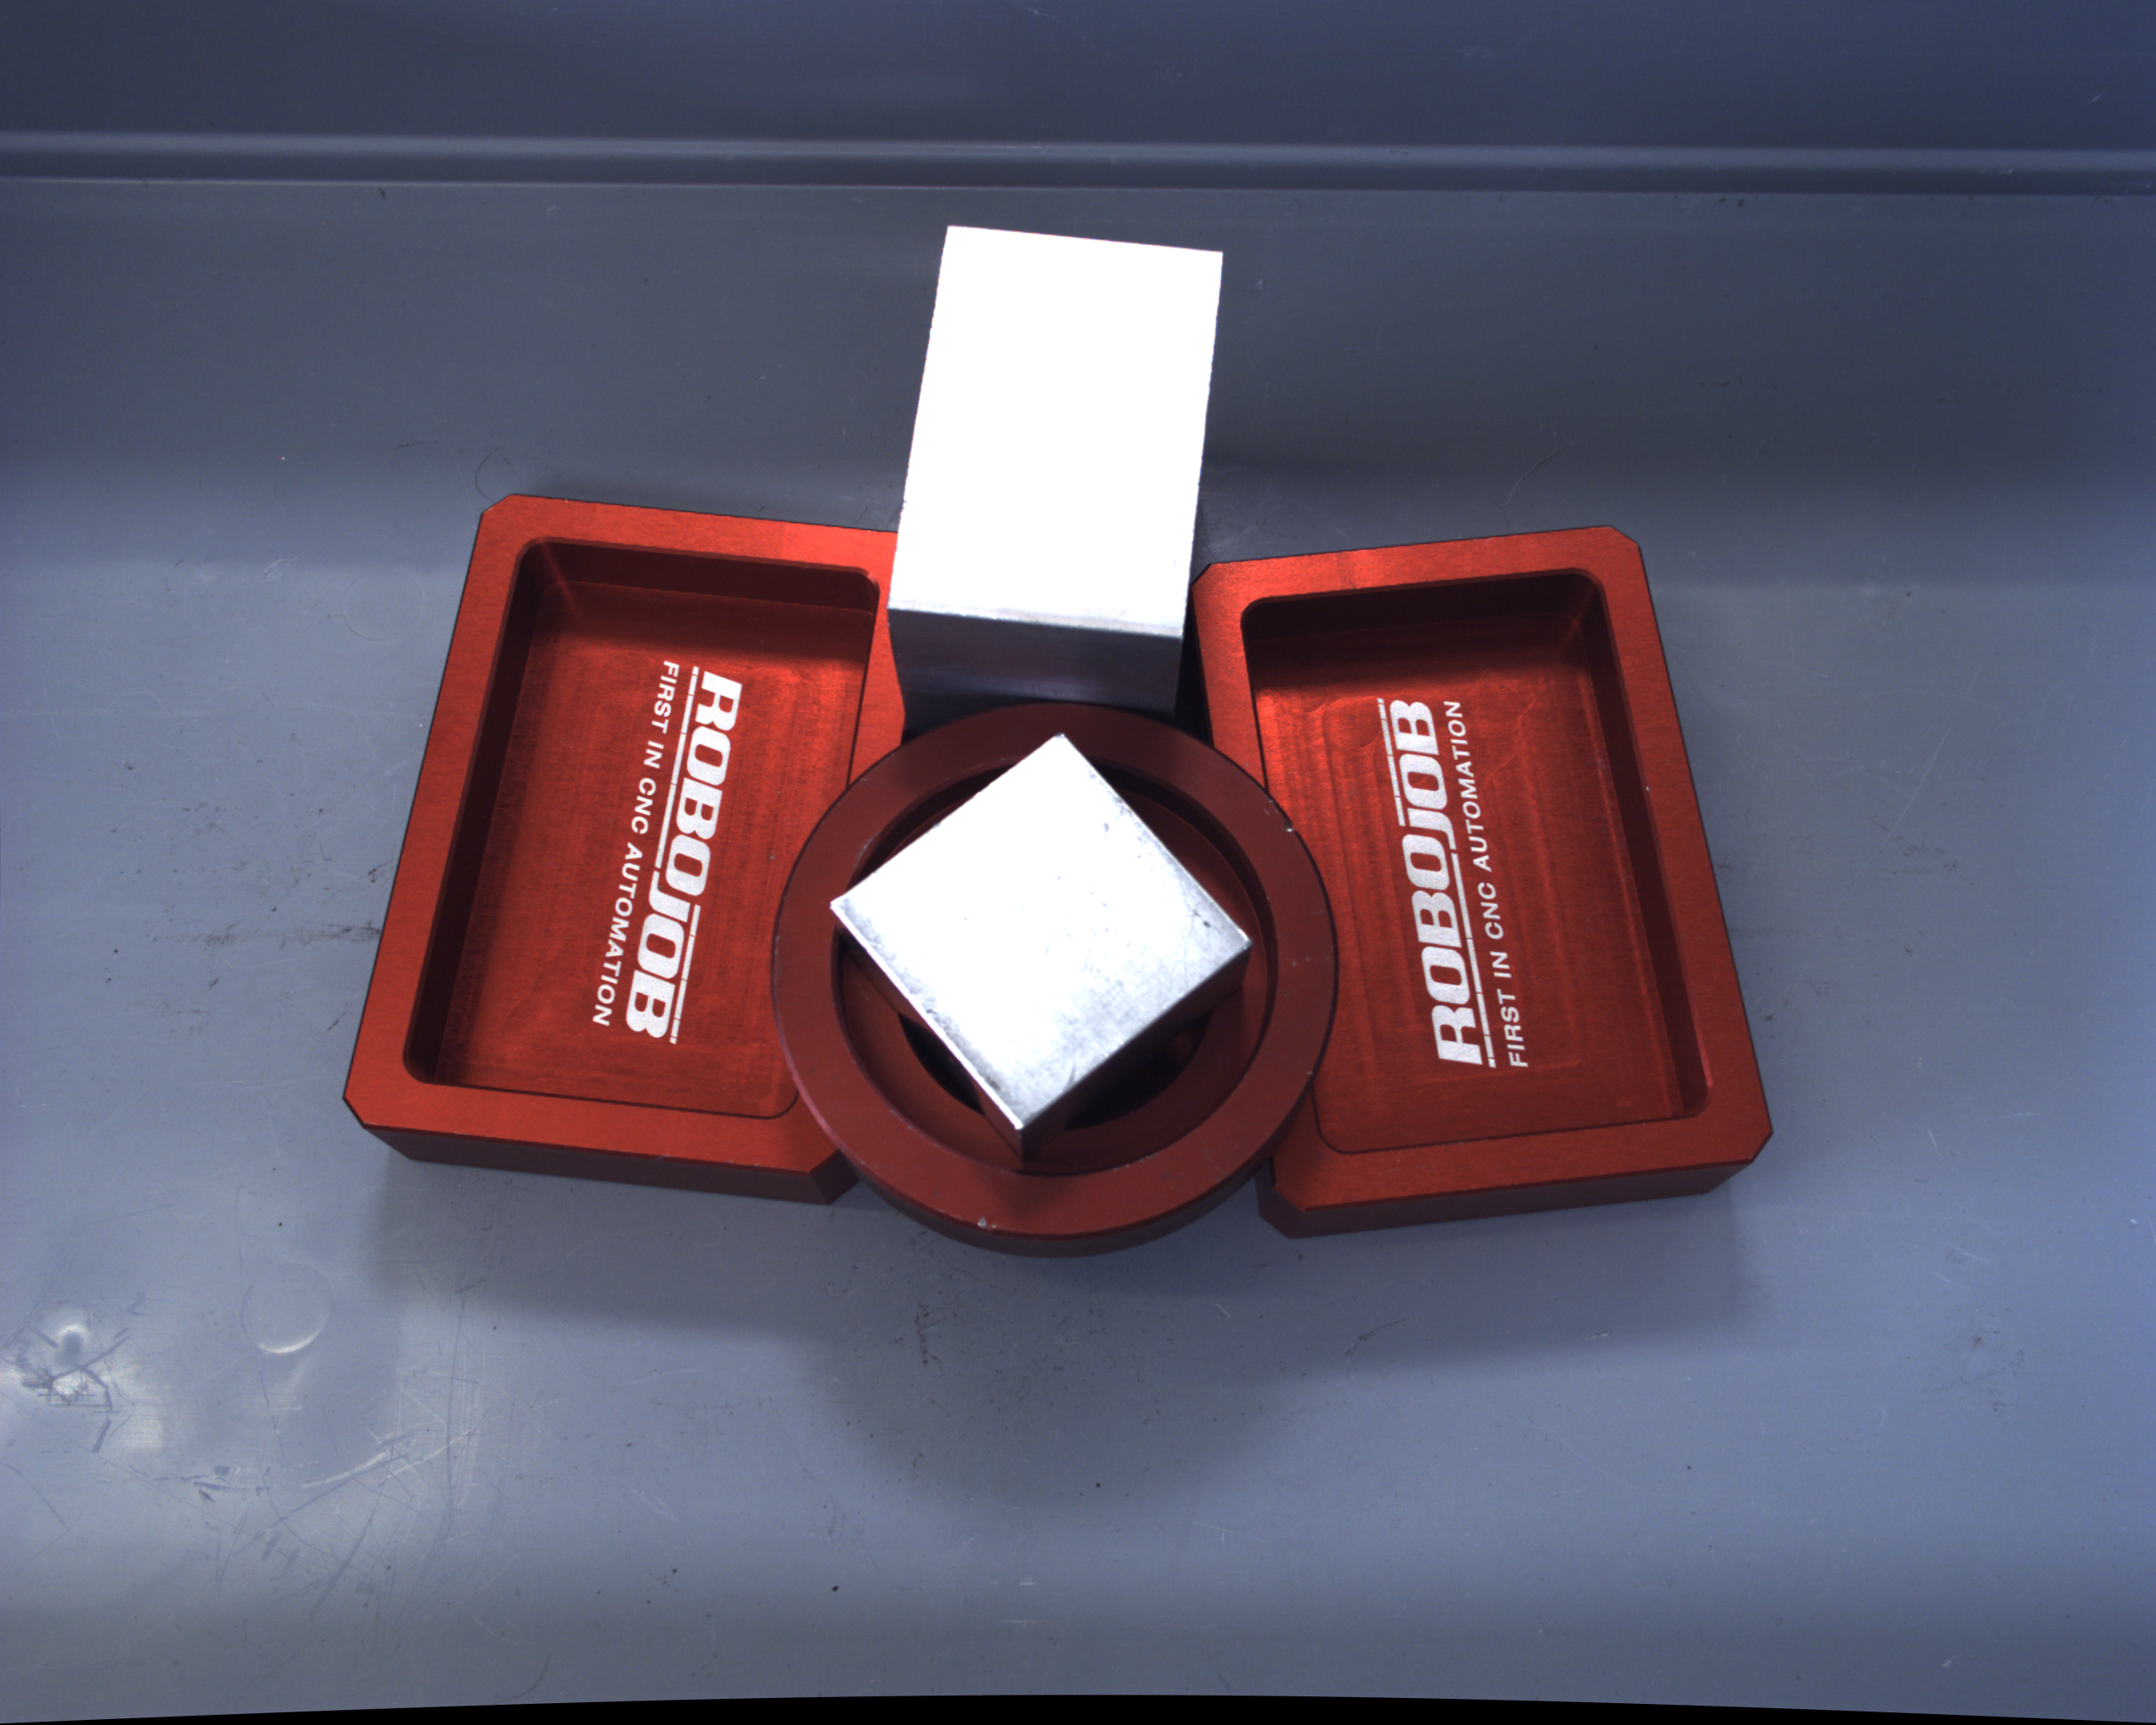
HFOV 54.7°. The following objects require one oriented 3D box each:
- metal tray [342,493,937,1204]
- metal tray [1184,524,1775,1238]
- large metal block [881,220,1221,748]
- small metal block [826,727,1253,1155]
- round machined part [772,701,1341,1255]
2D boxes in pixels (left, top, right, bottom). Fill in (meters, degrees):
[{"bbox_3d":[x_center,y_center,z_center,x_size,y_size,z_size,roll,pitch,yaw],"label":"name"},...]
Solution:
[{"bbox_3d":[-0.080,-0.004,0.406,0.091,0.030,0.130,6,70,2],"label":"metal tray"},{"bbox_3d":[0.073,0.002,0.405,0.091,0.030,0.129,-6,70,-3],"label":"metal tray"},{"bbox_3d":[-0.004,-0.063,0.402,0.050,0.080,0.080,6,70,2],"label":"large metal block"},{"bbox_3d":[-0.006,0.014,0.358,0.050,0.025,0.050,-38,74,-13],"label":"small metal block"},{"bbox_3d":[-0.004,0.023,0.380,0.099,0.042,0.098,0,70,0],"label":"round machined part"}]
